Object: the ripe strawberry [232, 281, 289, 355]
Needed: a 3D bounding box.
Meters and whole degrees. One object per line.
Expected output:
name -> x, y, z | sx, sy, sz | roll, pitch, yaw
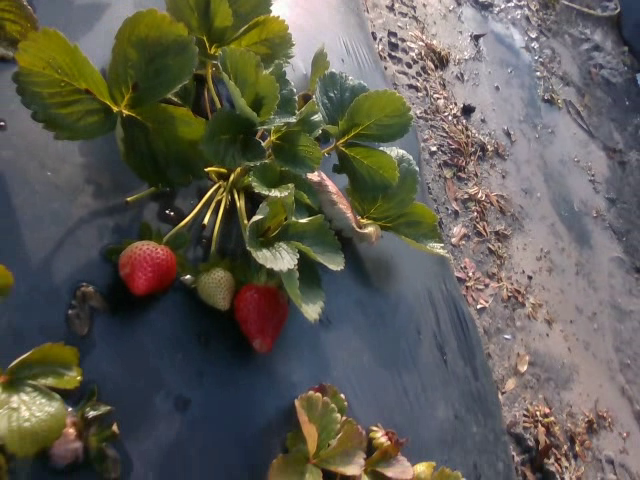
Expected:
ripe strawberry -> -0.049, 0.063, 0.467 | 0.048, 0.065, 0.050 | -2, -22, 12
